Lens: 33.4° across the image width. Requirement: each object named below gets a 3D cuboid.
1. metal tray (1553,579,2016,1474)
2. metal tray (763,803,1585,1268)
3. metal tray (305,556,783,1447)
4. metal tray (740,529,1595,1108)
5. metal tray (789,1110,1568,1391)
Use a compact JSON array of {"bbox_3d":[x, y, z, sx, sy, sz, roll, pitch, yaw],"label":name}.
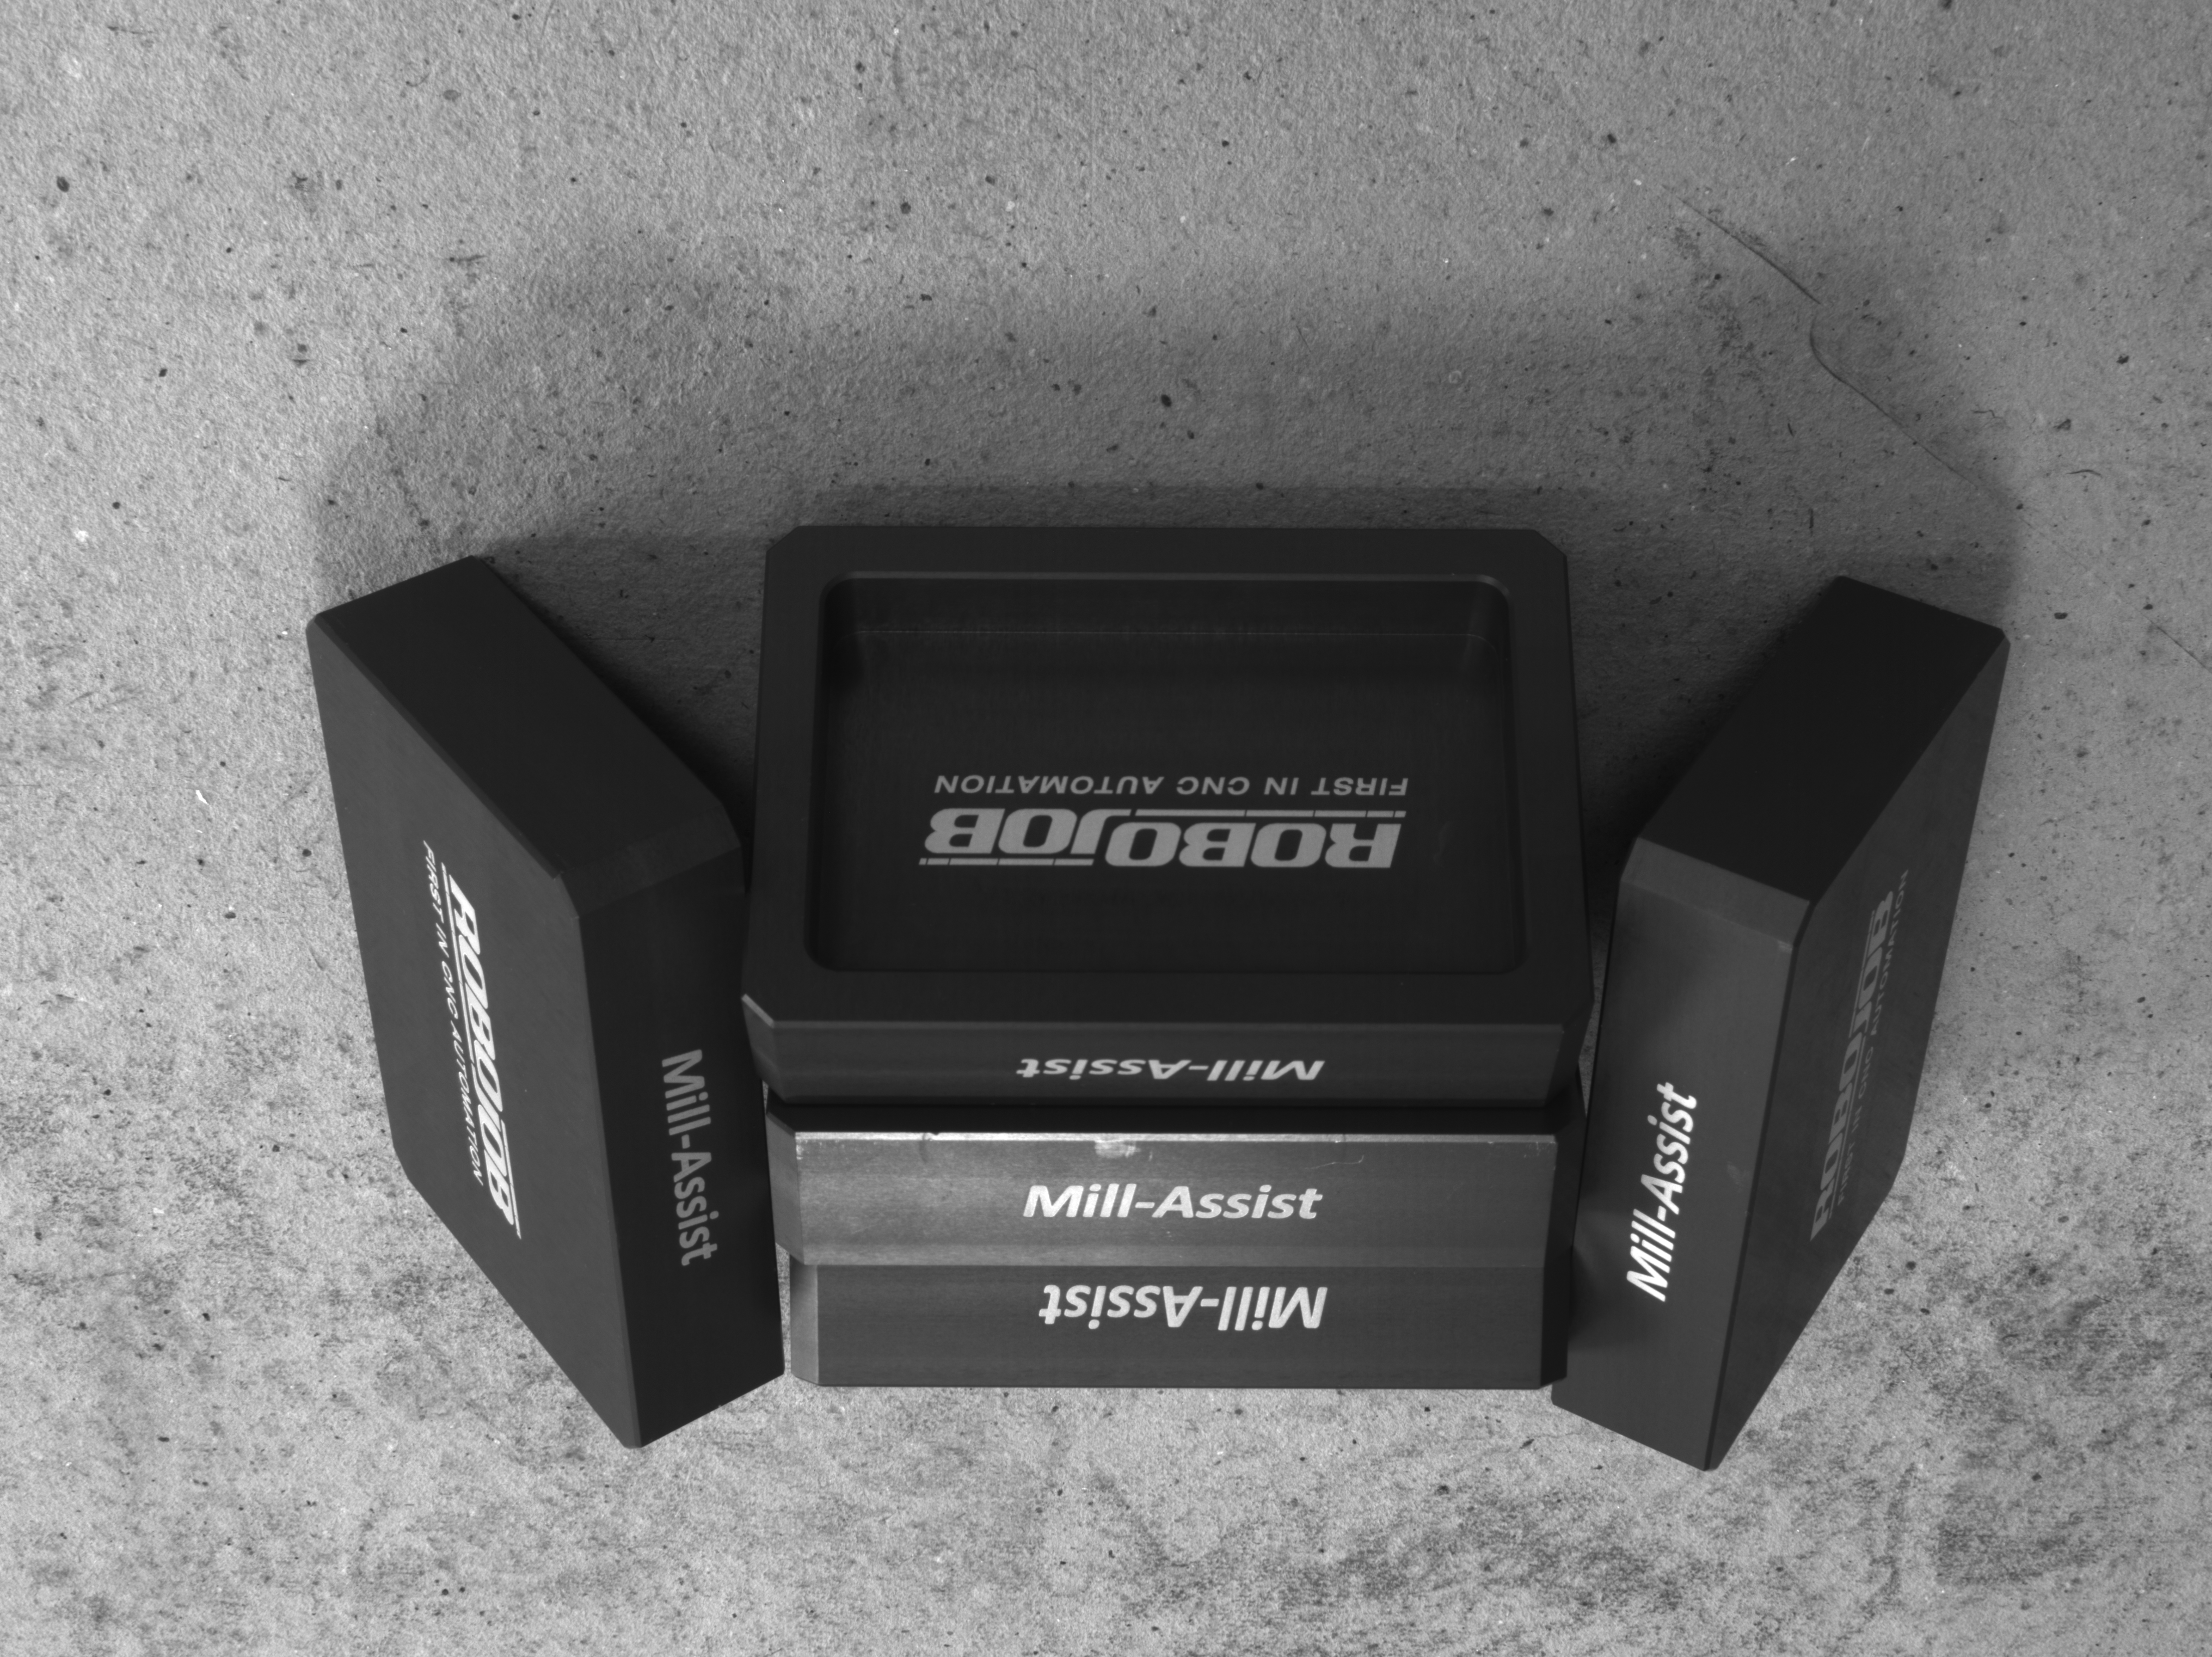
[{"bbox_3d":[0.114,0.035,0.625,0.030,0.090,0.130,22,134,23],"label":"metal tray"},{"bbox_3d":[0.011,0.031,0.623,0.130,0.090,0.030,0,130,0],"label":"metal tray"},{"bbox_3d":[-0.094,0.031,0.623,0.030,0.090,0.130,-25,136,-27],"label":"metal tray"},{"bbox_3d":[0.010,-0.002,0.592,0.130,0.090,0.030,0,152,0],"label":"metal tray"},{"bbox_3d":[0.012,0.070,0.655,0.130,0.090,0.030,0,101,0],"label":"metal tray"}]
